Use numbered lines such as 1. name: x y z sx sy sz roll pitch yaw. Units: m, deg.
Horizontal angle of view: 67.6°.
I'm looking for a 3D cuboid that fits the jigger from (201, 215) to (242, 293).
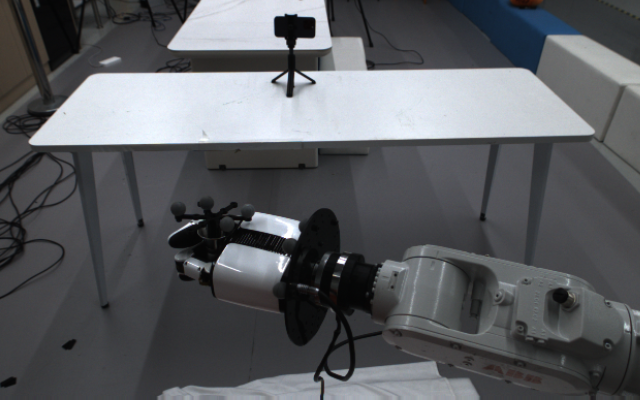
1. jigger: -0.125 0.066 0.601 0.043 0.071 0.043 3 25 -1
